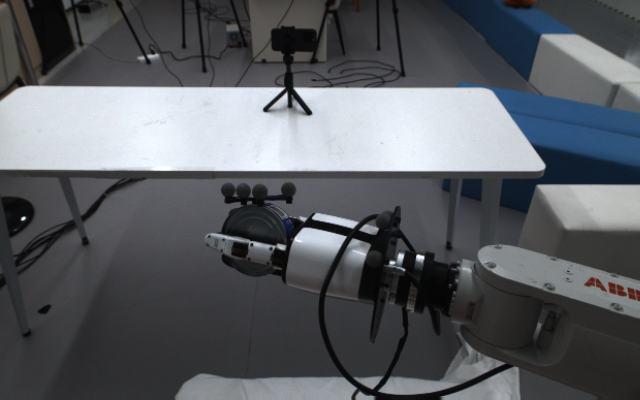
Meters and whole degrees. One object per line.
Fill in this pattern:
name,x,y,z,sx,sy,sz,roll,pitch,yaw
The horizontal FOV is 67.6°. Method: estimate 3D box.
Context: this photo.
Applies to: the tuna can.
tuna can,-0.071,0.046,0.580,0.085,0.085,0.034,15,10,18
